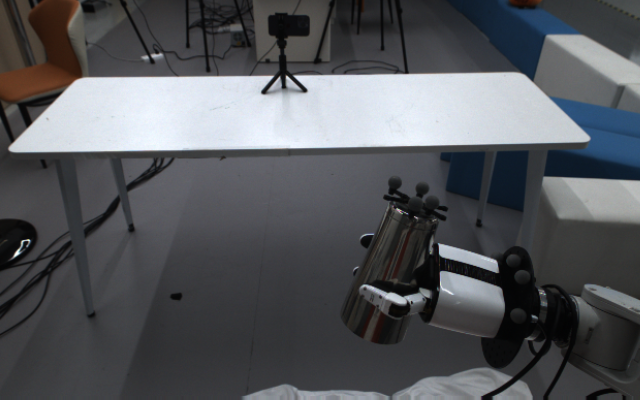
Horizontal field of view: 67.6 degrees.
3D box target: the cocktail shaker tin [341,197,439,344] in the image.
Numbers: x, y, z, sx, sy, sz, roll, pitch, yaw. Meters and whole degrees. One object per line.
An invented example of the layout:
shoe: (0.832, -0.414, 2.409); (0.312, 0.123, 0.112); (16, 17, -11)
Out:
cocktail shaker tin: (0.095, 0.088, 0.626); (0.093, 0.170, 0.093); (15, 20, -5)
